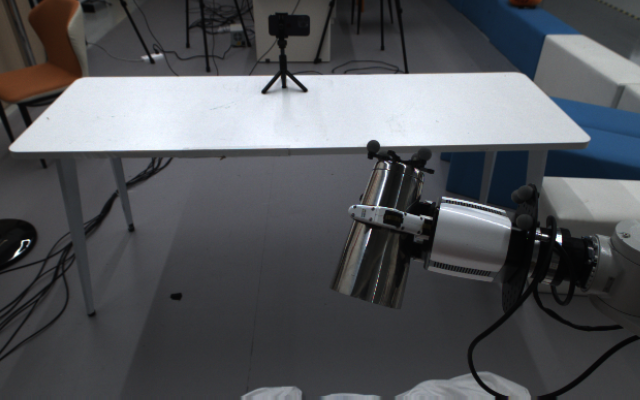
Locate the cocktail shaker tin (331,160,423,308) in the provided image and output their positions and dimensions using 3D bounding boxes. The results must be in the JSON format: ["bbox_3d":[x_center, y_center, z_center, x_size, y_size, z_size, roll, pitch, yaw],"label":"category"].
[{"bbox_3d":[0.079,0.041,0.612,0.093,0.170,0.093,16,-6,2],"label":"cocktail shaker tin"}]
